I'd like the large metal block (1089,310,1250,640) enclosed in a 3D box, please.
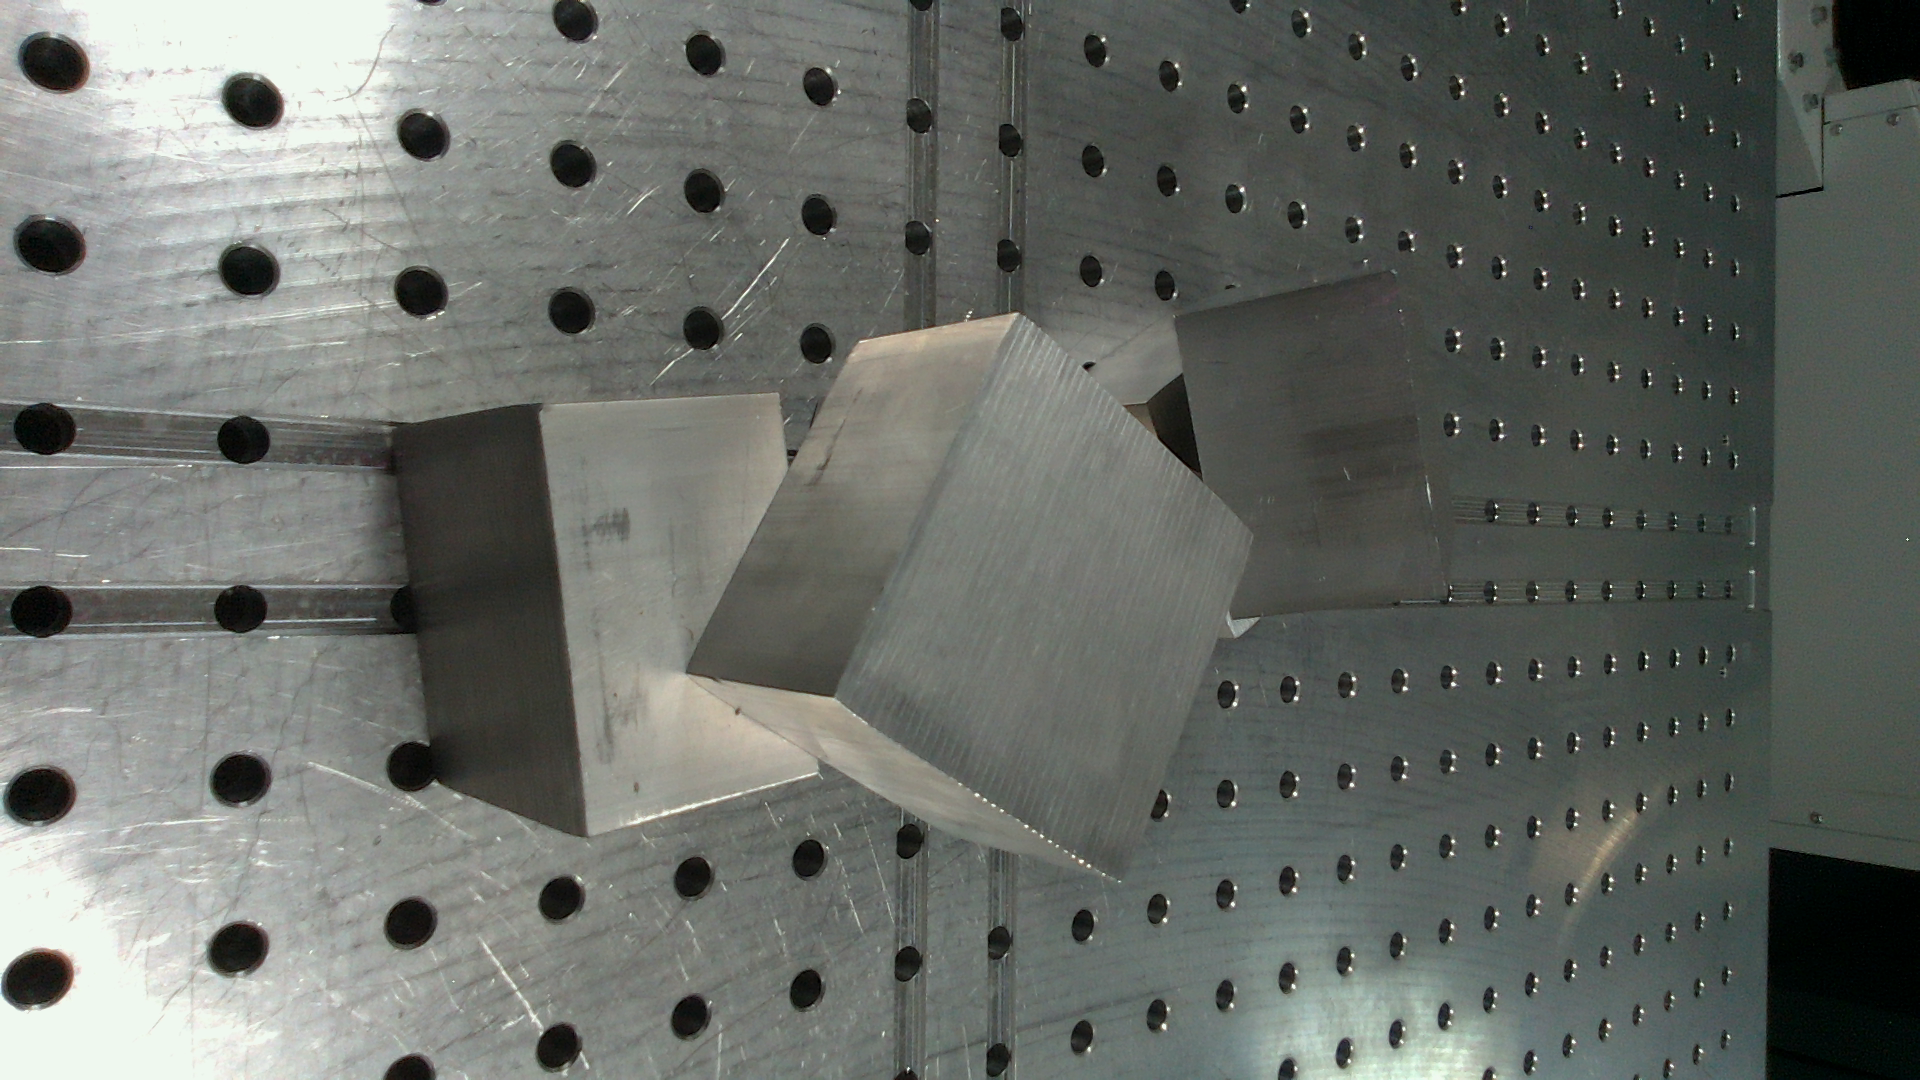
[{"bbox_3d":[0.077,-0.025,0.440,0.080,0.050,0.080,-37,113,-34],"label":"large metal block"}]

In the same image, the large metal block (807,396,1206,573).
[{"bbox_3d":[0.010,-0.003,0.363,0.080,0.080,0.050,24,75,-37],"label":"large metal block"}]

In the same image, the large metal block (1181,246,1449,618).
[{"bbox_3d":[0.099,-0.032,0.369,0.080,0.050,0.080,-36,116,-65],"label":"large metal block"}]

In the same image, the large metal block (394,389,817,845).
[{"bbox_3d":[-0.077,0.012,0.292,0.050,0.080,0.080,-8,95,-39],"label":"large metal block"}]

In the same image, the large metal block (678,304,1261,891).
[{"bbox_3d":[0.005,0.013,0.275,0.080,0.050,0.080,38,67,-33],"label":"large metal block"}]
